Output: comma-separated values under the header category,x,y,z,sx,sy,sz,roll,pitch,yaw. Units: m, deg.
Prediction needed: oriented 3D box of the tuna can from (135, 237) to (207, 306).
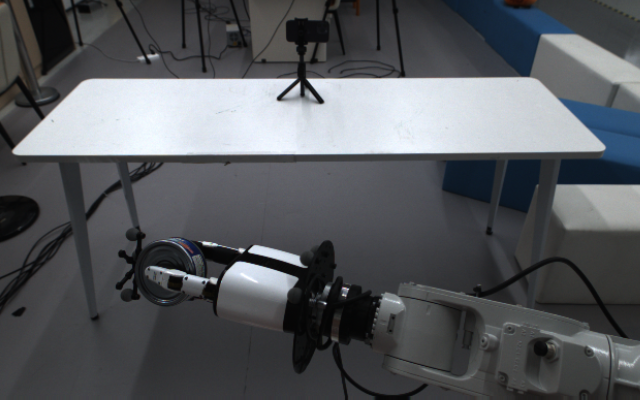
category,x,y,z,sx,sy,sz,roll,pitch,yaw
tuna can,-0.188,0.090,0.617,0.085,0.085,0.034,10,3,11
